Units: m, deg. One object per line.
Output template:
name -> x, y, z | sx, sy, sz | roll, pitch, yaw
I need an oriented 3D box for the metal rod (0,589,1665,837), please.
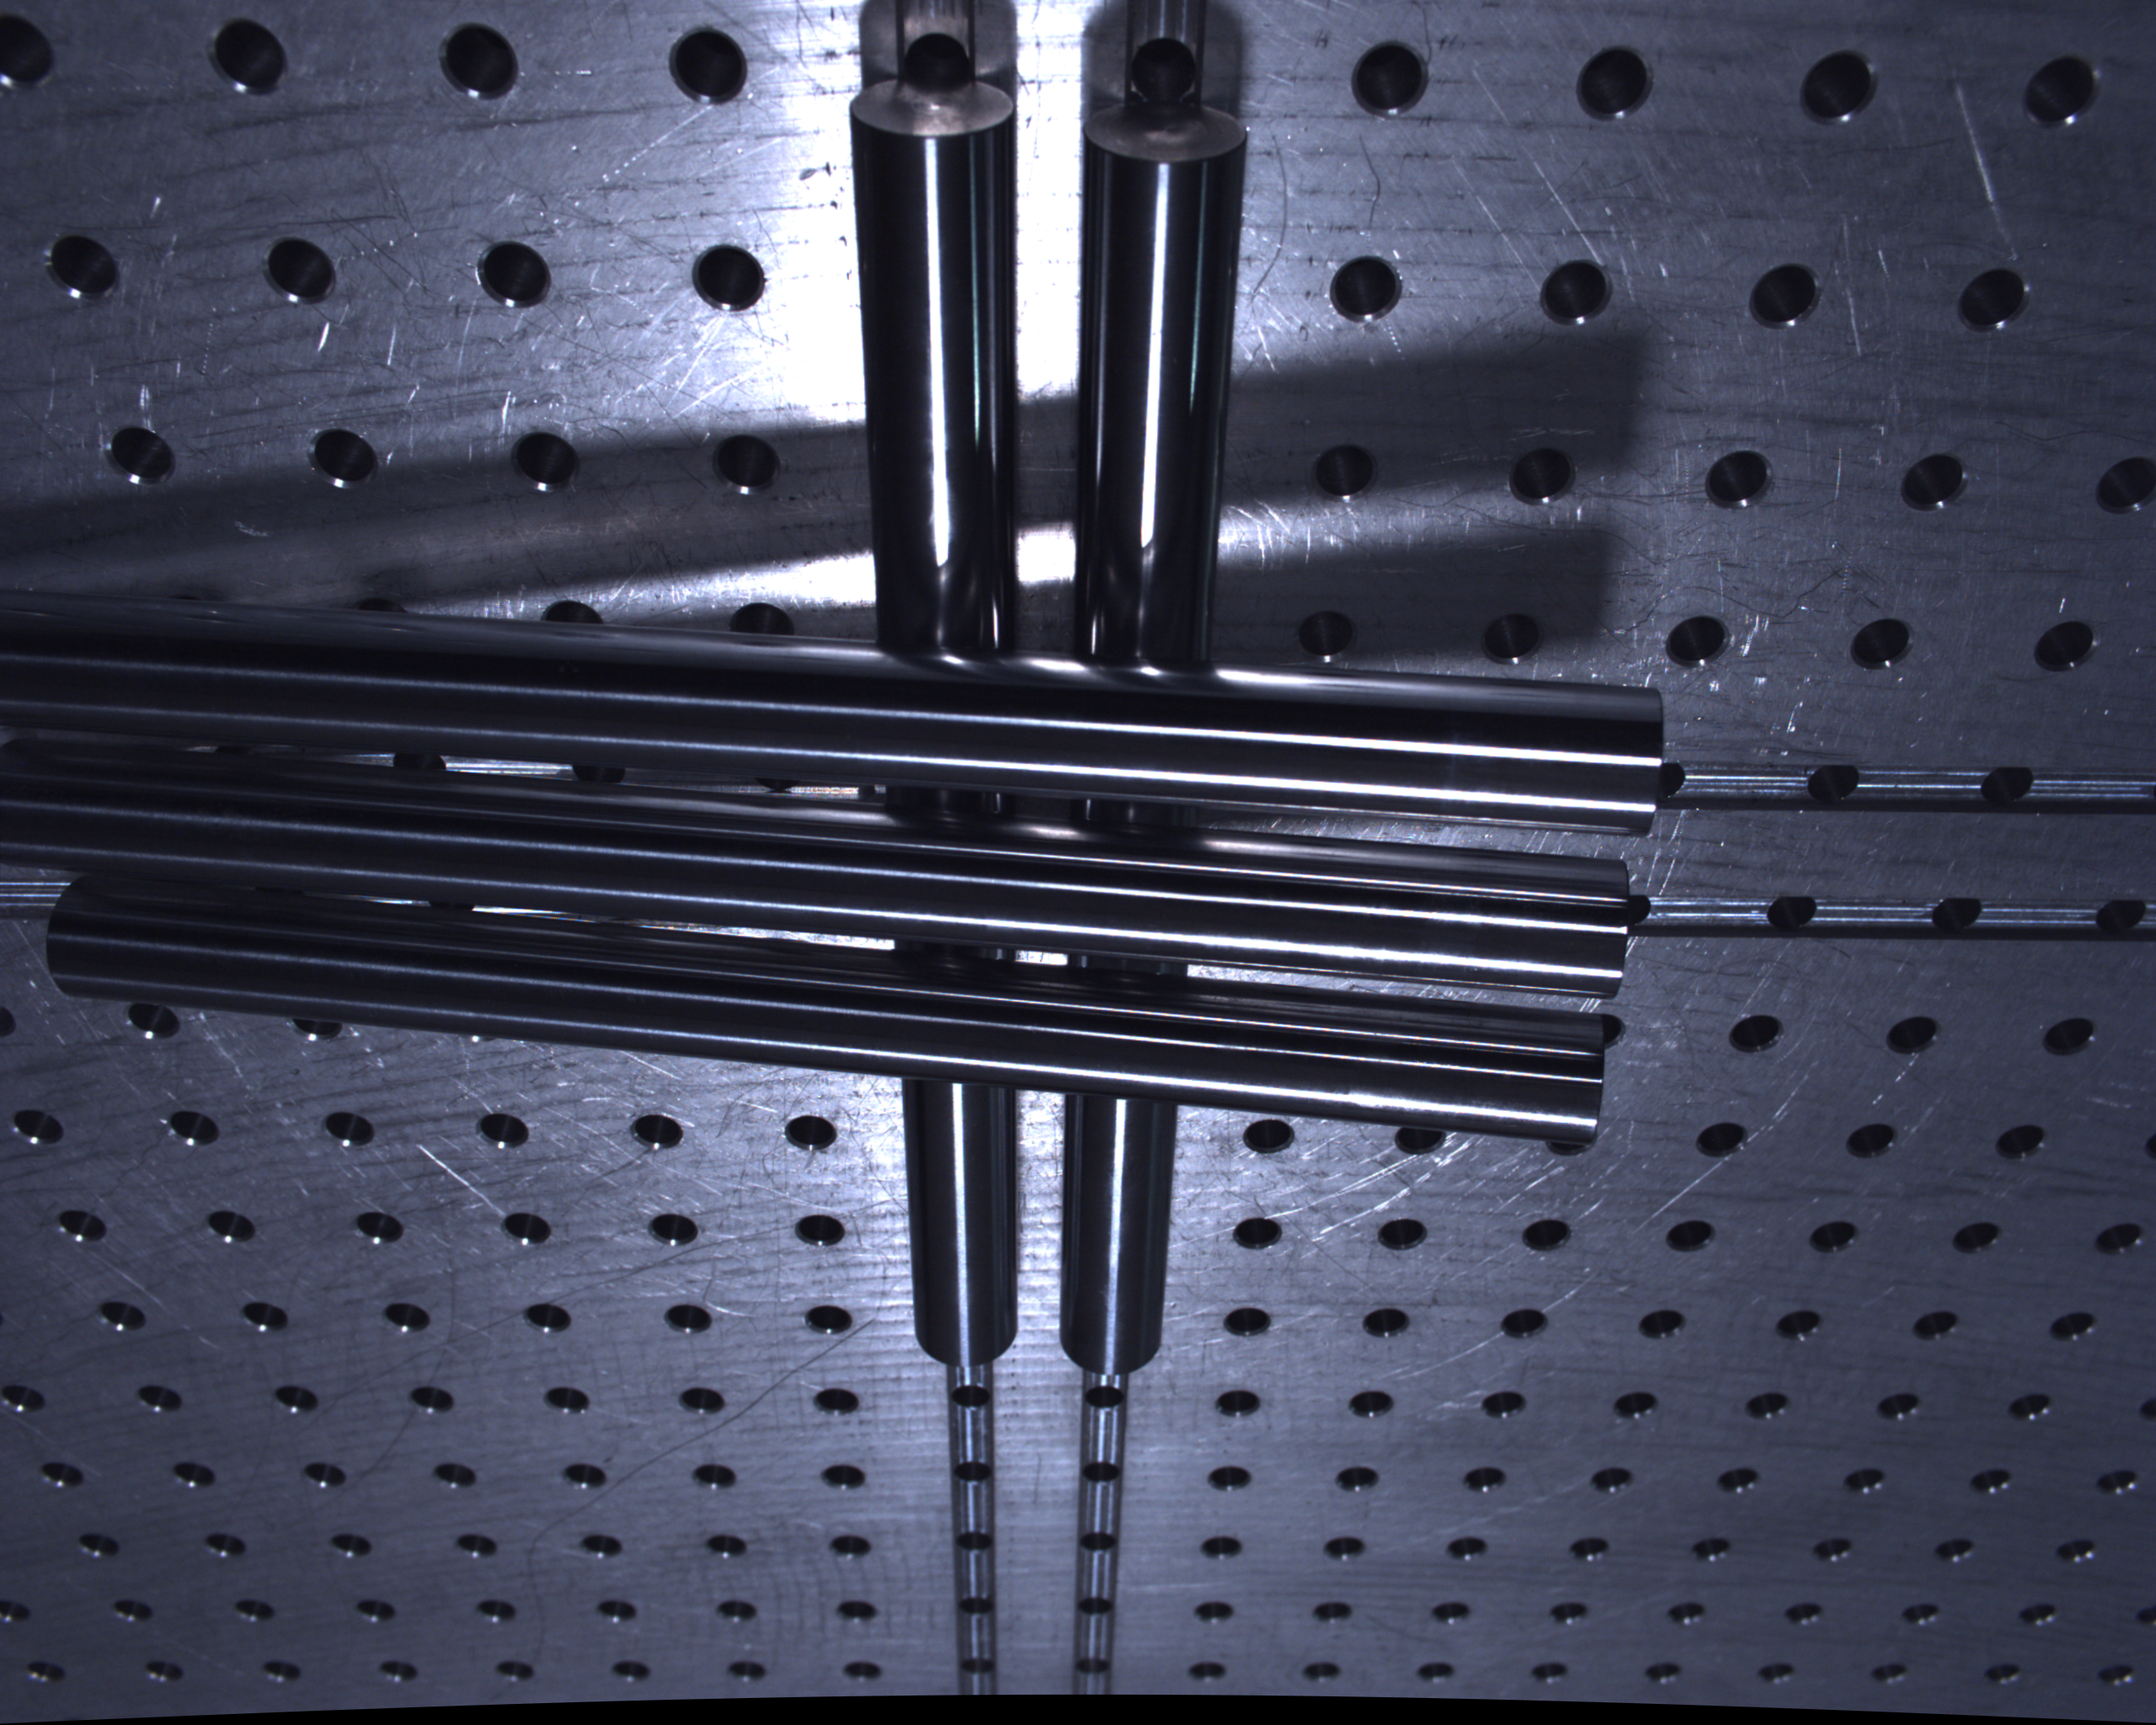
metal rod -> -0.055, -0.027, 0.361 | 0.302, 0.025, 0.025 | 4, 131, 6

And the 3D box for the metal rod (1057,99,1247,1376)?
metal rod -> 0.010, 0.002, 0.414 | 0.025, 0.025, 0.298 | 1, 130, -1

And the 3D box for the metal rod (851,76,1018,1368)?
metal rod -> -0.025, -0.001, 0.411 | 0.025, 0.025, 0.298 | 1, 130, -1

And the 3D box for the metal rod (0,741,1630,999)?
metal rod -> -0.054, 0.000, 0.384 | 0.302, 0.025, 0.025 | 4, 131, 6

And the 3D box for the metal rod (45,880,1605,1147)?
metal rod -> -0.052, 0.028, 0.407 | 0.302, 0.025, 0.025 | 5, 131, 6
